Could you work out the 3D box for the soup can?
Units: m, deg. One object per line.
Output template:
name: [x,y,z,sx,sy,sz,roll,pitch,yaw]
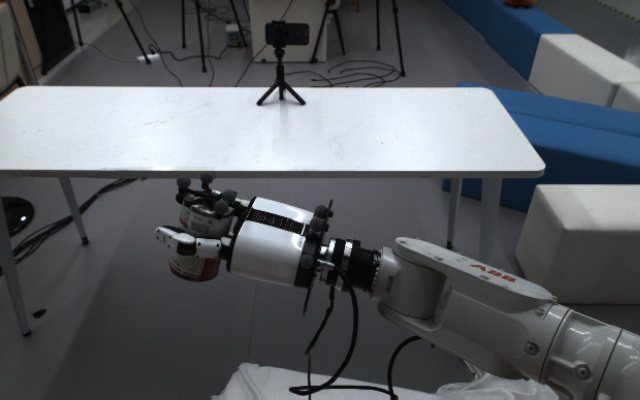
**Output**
soup can: [-0.155,0.049,0.637,0.067,0.101,0.067,17,22,-7]
